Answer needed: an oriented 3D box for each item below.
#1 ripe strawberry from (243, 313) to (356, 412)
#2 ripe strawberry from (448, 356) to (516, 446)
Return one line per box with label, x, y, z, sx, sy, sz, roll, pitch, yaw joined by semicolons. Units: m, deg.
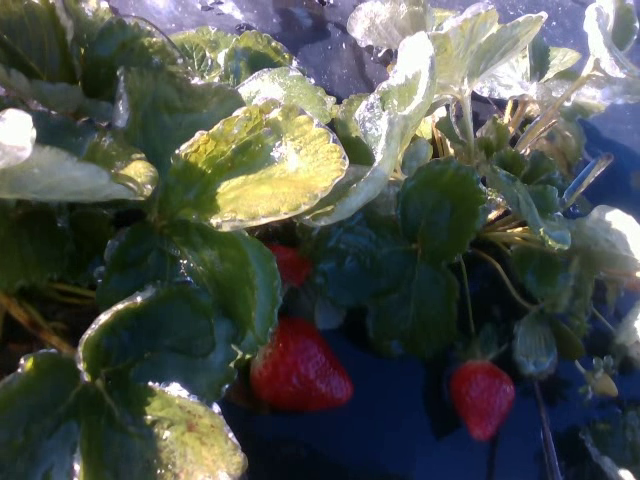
ripe strawberry;-0.003;0.063;0.281;0.056;0.044;0.040;39;-20;-22
ripe strawberry;0.084;0.083;0.312;0.039;0.047;0.040;27;-26;-26
